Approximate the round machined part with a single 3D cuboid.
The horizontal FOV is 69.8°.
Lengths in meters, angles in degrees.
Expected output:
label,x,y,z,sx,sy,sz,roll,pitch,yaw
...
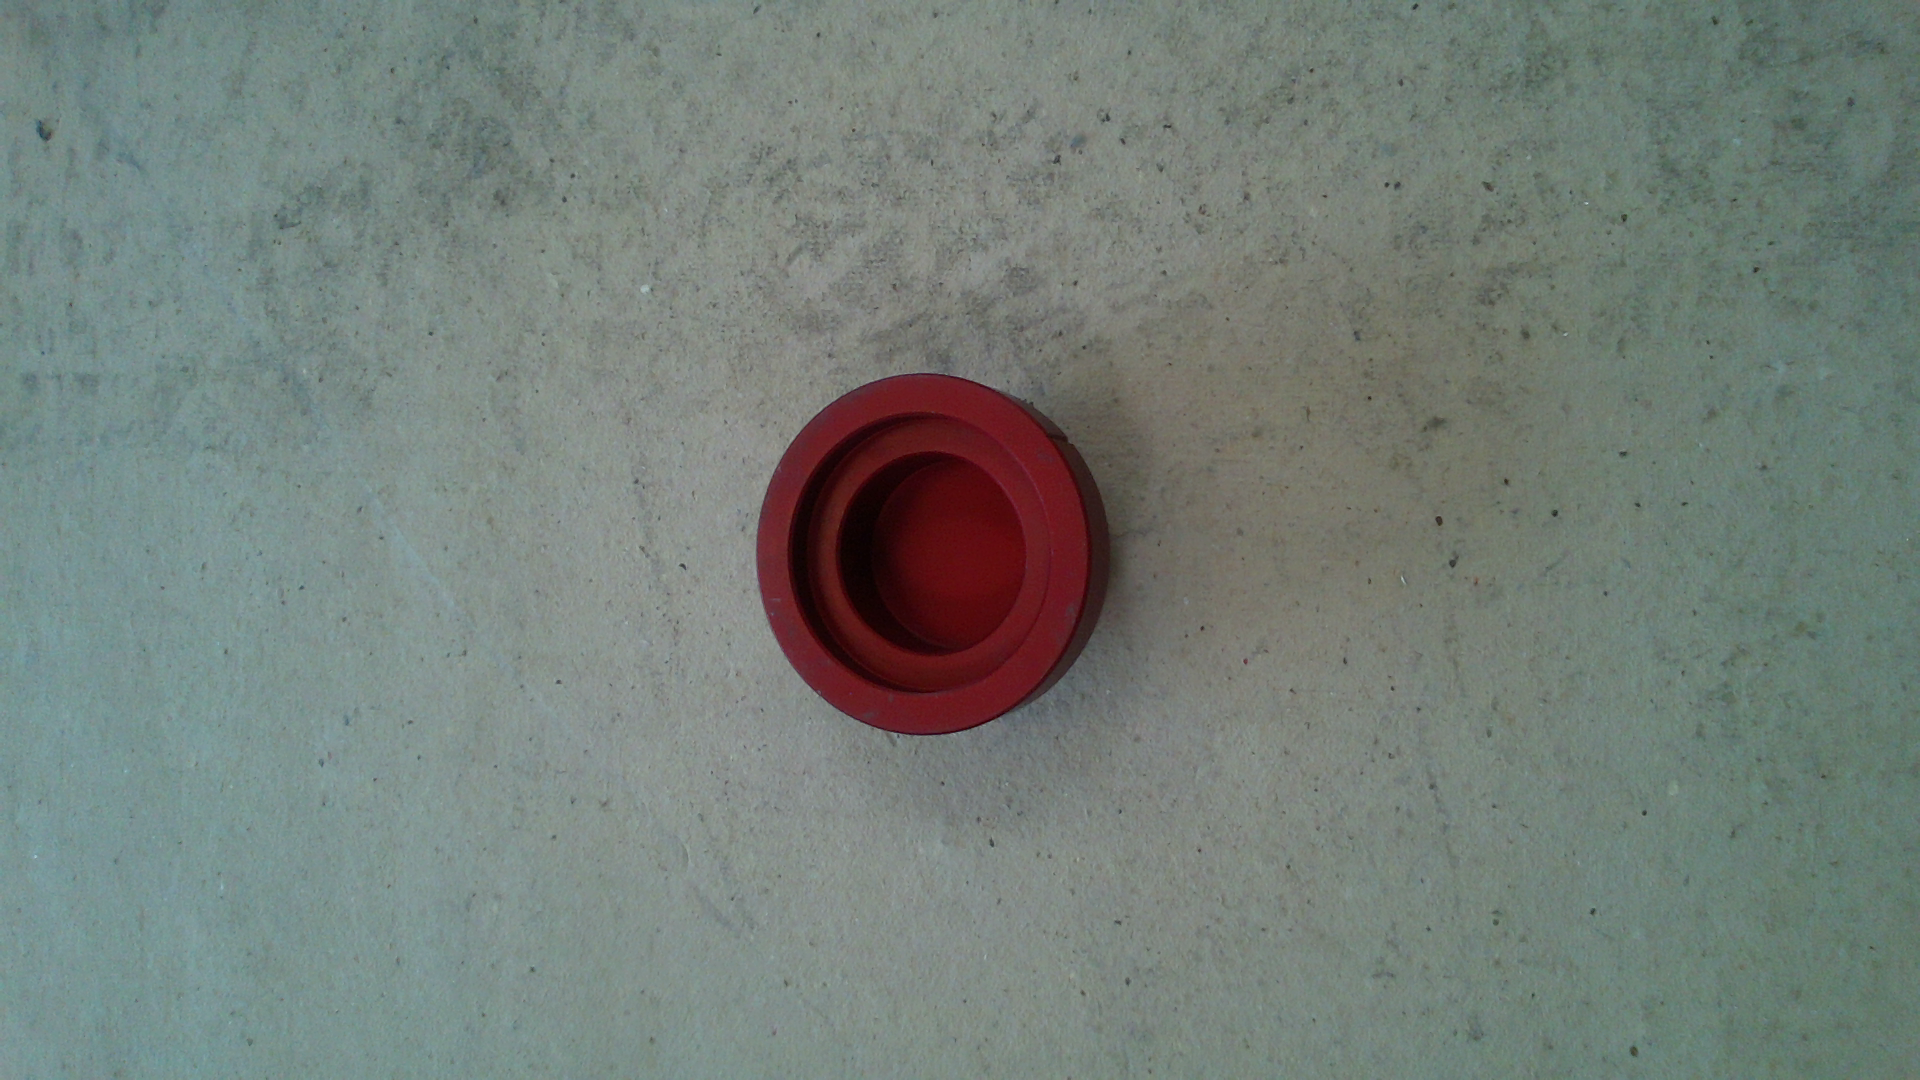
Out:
label,x,y,z,sx,sy,sz,roll,pitch,yaw
round machined part,-0.005,0.004,0.389,0.098,0.042,0.098,0,90,20
